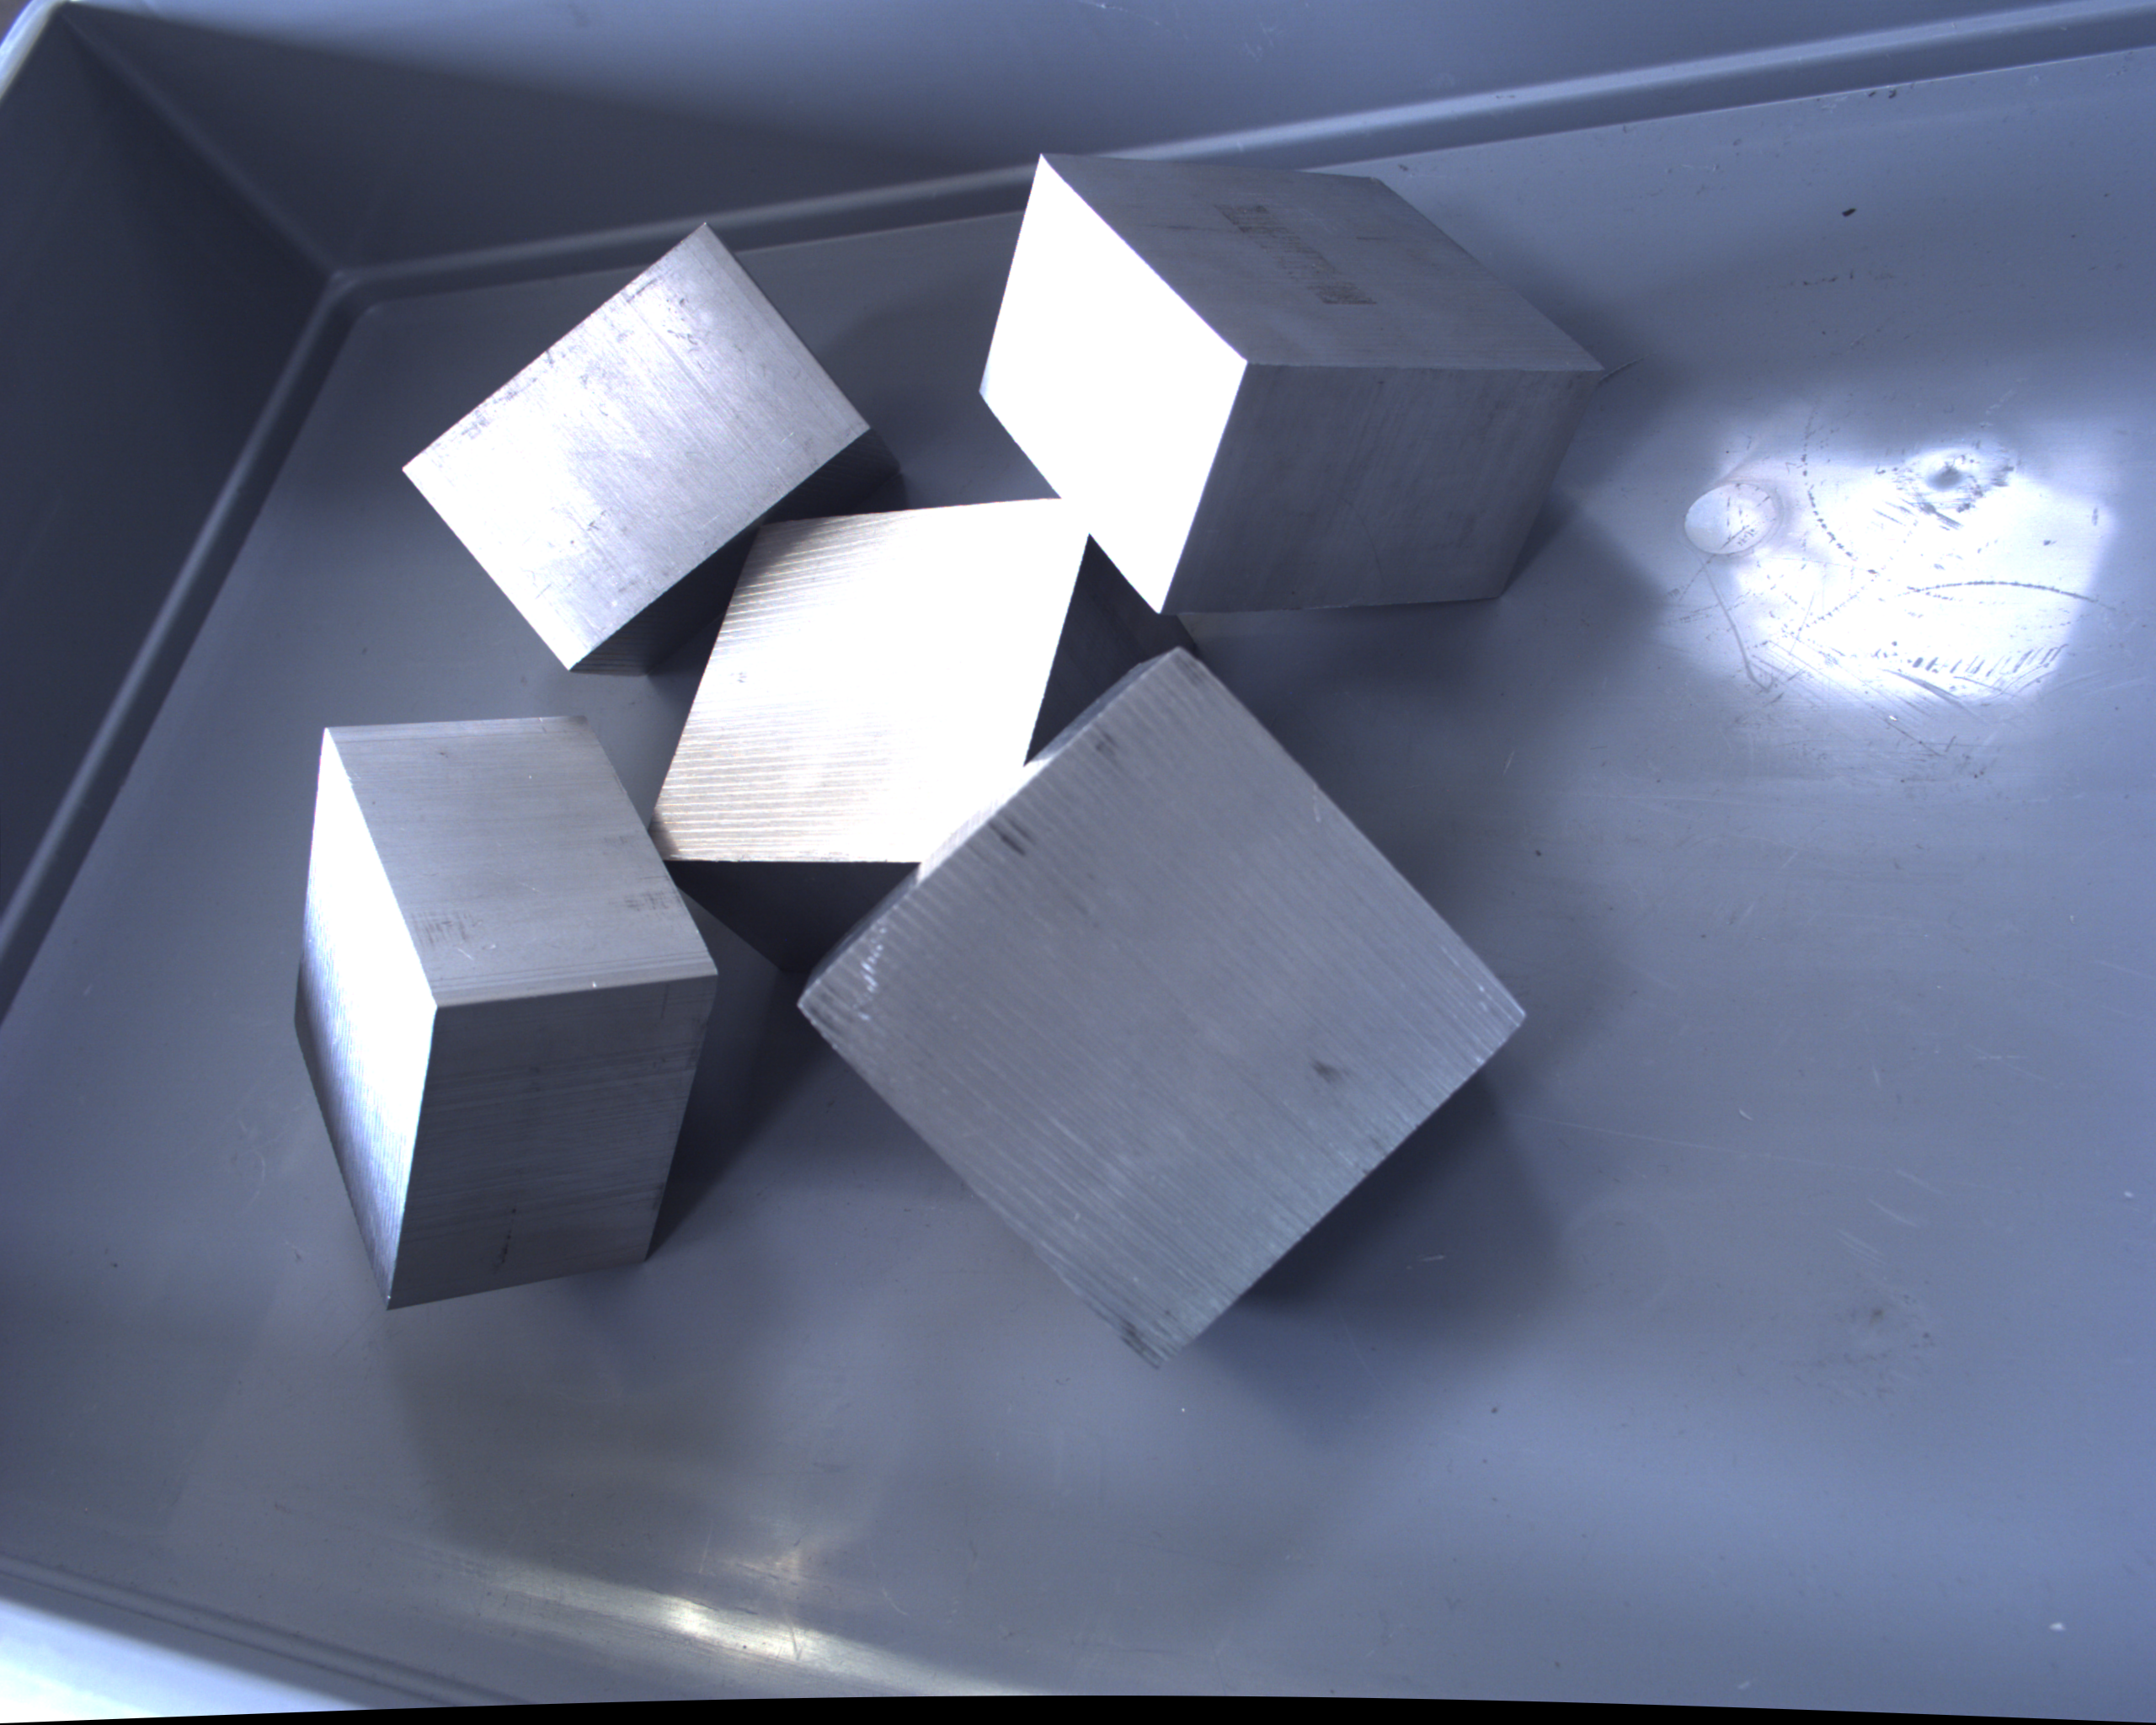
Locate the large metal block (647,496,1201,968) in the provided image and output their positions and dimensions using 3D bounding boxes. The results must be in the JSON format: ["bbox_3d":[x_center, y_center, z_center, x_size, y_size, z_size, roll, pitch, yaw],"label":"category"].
[{"bbox_3d":[-0.030,-0.024,0.417,0.080,0.050,0.080,1,62,28],"label":"large metal block"}]

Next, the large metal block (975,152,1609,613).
[{"bbox_3d":[0.038,-0.093,0.398,0.081,0.050,0.080,-7,43,-29],"label":"large metal block"}]

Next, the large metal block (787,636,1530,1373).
[{"bbox_3d":[0.011,0.021,0.341,0.080,0.050,0.080,-43,96,-3],"label":"large metal block"}]

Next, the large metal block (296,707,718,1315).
[{"bbox_3d":[-0.114,0.027,0.405,0.080,0.050,0.079,55,138,39],"label":"large metal block"}]

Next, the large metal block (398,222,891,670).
[{"bbox_3d":[-0.090,-0.087,0.459,0.080,0.080,0.050,-39,94,2],"label":"large metal block"}]
